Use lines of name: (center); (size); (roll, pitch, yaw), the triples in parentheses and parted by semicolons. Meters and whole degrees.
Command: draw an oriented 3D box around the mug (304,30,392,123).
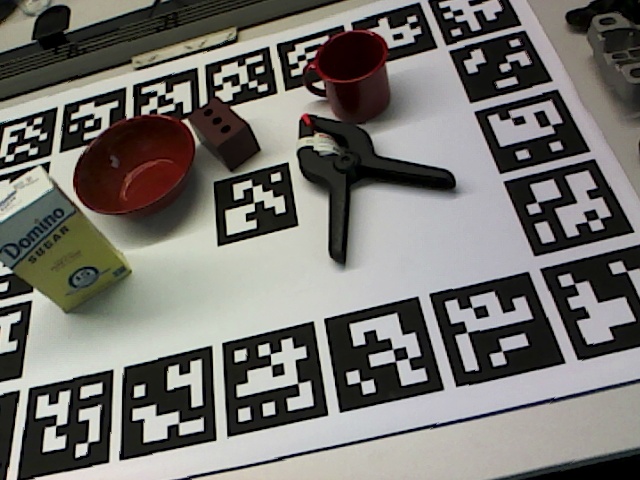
mug: (0.037, -0.206, 0.791); (0.117, 0.081, 0.093); (11, 62, 17)

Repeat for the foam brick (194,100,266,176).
foam brick: (-0.119, -0.134, 0.815); (0.053, 0.051, 0.078); (-37, 58, -8)

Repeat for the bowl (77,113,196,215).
bowl: (-0.229, -0.088, 0.807); (0.162, 0.055, 0.162); (-6, 58, 10)

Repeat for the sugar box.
sugar box: (-0.295, 0.009, 0.693); (0.093, 0.175, 0.045); (-34, 59, -9)

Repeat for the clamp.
clamp: (0.027, -0.083, 0.740); (0.165, 0.036, 0.204); (-34, 58, -5)
